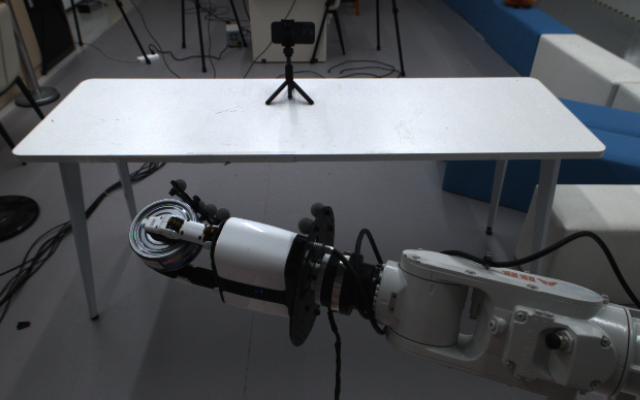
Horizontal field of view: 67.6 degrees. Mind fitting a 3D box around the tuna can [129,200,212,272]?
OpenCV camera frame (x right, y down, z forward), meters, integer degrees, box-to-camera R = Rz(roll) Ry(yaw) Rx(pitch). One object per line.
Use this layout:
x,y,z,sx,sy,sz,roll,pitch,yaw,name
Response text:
-0.182,0.048,0.587,0.085,0.034,0.085,-4,58,6,tuna can
